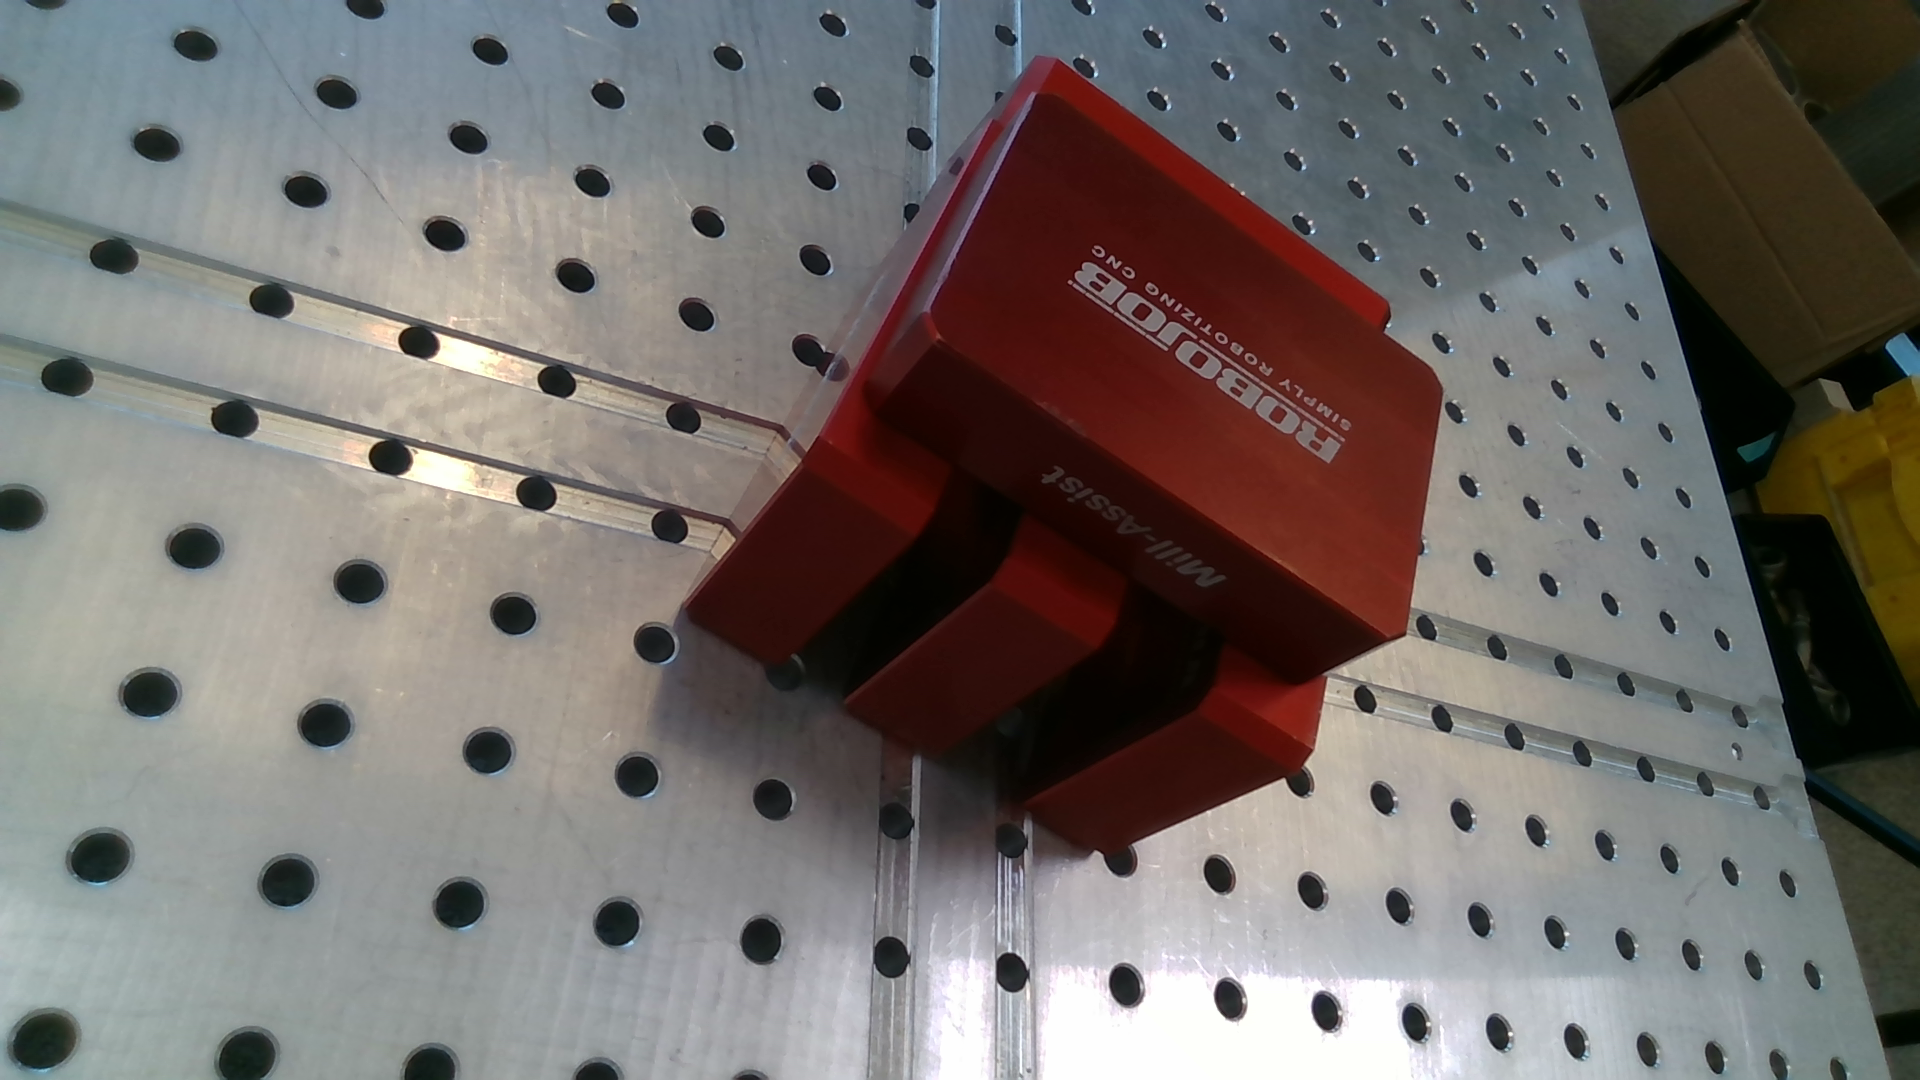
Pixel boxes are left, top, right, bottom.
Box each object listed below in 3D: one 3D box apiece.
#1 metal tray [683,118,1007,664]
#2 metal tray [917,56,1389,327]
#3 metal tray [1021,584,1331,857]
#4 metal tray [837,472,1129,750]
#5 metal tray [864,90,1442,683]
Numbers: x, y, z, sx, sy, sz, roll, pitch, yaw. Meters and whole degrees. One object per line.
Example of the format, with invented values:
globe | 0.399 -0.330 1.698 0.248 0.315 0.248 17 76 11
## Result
metal tray | -0.020 -0.040 0.363 0.030 0.090 0.130 33 53 -13
metal tray | 0.055 -0.084 0.429 0.130 0.090 0.030 32 74 -13
metal tray | 0.068 0.016 0.386 0.030 0.090 0.130 32 52 -13
metal tray | 0.019 -0.016 0.373 0.030 0.090 0.130 32 54 -14
metal tray | 0.052 -0.037 0.327 0.130 0.030 0.090 32 52 -13
